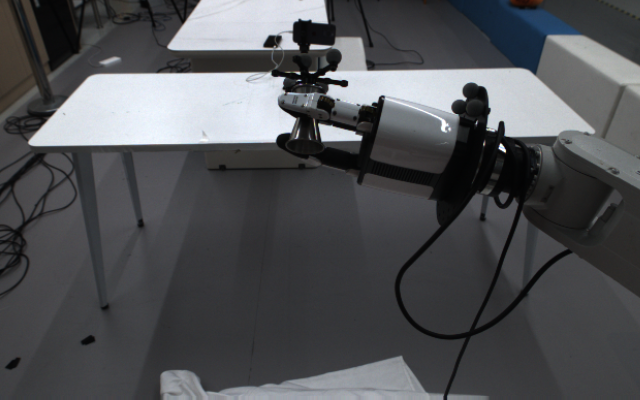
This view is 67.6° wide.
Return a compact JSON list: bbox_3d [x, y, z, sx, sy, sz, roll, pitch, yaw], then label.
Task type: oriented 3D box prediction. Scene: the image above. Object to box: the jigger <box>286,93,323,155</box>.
[{"bbox_3d":[-0.016,-0.091,0.547,0.043,0.043,0.071,3,75,1],"label":"jigger"}]
